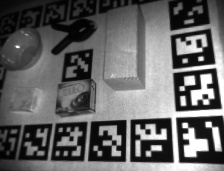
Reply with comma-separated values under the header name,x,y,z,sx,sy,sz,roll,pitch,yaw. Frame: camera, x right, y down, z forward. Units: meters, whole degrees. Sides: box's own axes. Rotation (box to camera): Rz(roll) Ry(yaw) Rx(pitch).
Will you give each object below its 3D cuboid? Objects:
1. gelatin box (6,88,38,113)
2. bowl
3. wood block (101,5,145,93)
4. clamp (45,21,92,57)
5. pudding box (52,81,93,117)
name,x,y,z,sx,sy,sz,roll,pitch,yaw
gelatin box,-0.283,0.046,0.677,0.088,0.030,0.073,3,75,22
bowl,-0.301,-0.115,0.734,0.160,0.056,0.161,-5,73,18
wood block,0.033,-0.092,0.571,0.089,0.092,0.206,-2,71,20
clamp,-0.145,-0.166,0.705,0.164,0.037,0.121,-15,67,13
pudding box,-0.110,0.040,0.610,0.113,0.039,0.090,-7,74,21
